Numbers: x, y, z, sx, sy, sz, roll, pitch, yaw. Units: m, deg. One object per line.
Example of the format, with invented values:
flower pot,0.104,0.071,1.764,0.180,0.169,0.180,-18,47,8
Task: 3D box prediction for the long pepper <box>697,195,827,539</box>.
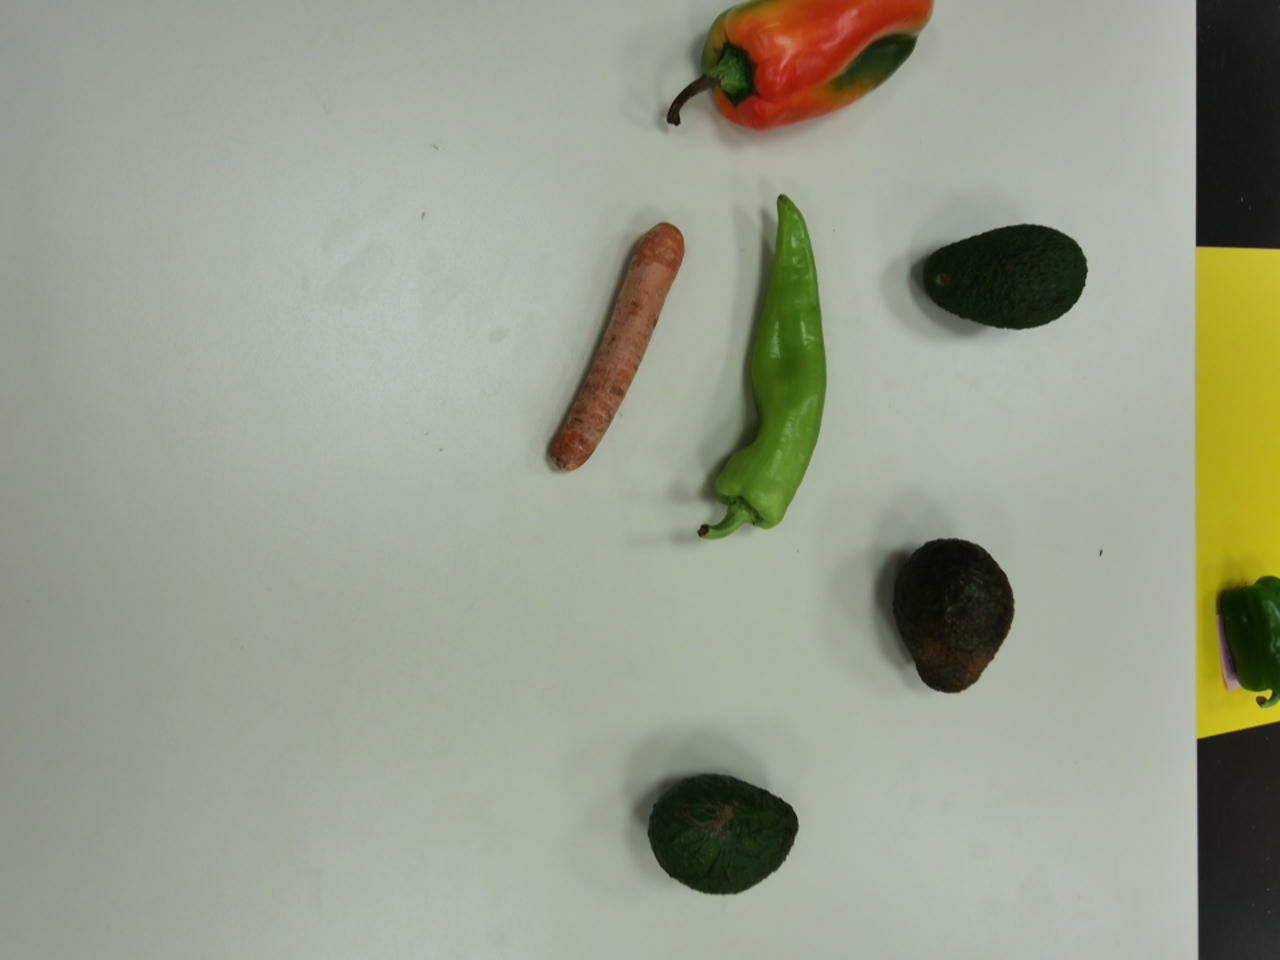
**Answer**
long pepper,0.082,-0.058,0.580,0.065,0.045,0.204,17,84,-21
